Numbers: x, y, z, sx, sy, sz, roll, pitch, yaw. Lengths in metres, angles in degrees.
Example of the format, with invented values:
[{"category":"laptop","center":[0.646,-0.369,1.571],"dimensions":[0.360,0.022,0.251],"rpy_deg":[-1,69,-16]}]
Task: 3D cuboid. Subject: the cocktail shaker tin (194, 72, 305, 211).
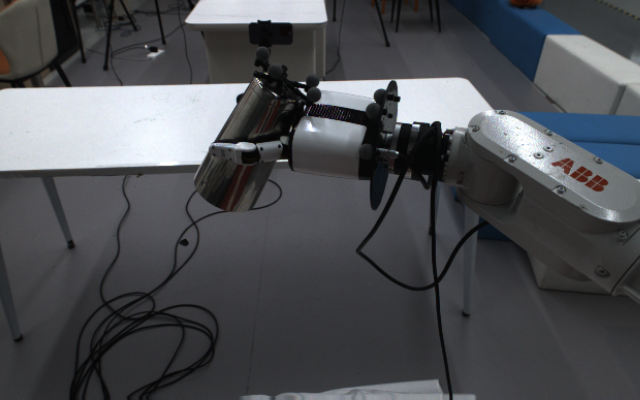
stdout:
[{"category":"cocktail shaker tin","center":[-0.089,-0.079,0.629],"dimensions":[0.093,0.170,0.093],"rpy_deg":[26,32,-17]}]
